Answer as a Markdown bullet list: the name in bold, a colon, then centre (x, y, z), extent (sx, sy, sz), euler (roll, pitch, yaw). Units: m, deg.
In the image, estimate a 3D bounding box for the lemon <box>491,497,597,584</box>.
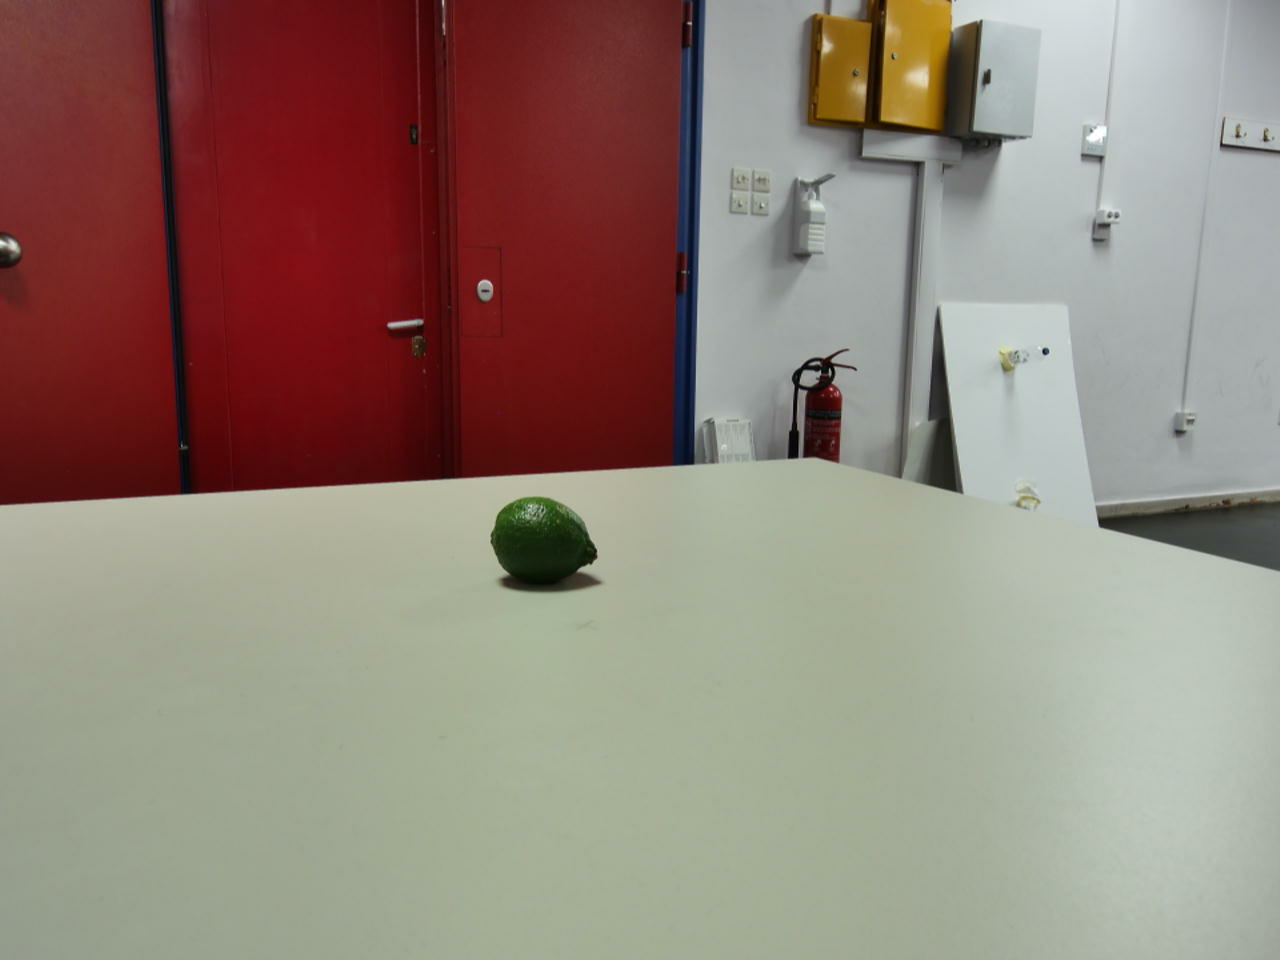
- **lemon**: centre (-0.060, 0.035, 0.595), extent (0.057, 0.051, 0.054), euler (-4, 9, -28)
